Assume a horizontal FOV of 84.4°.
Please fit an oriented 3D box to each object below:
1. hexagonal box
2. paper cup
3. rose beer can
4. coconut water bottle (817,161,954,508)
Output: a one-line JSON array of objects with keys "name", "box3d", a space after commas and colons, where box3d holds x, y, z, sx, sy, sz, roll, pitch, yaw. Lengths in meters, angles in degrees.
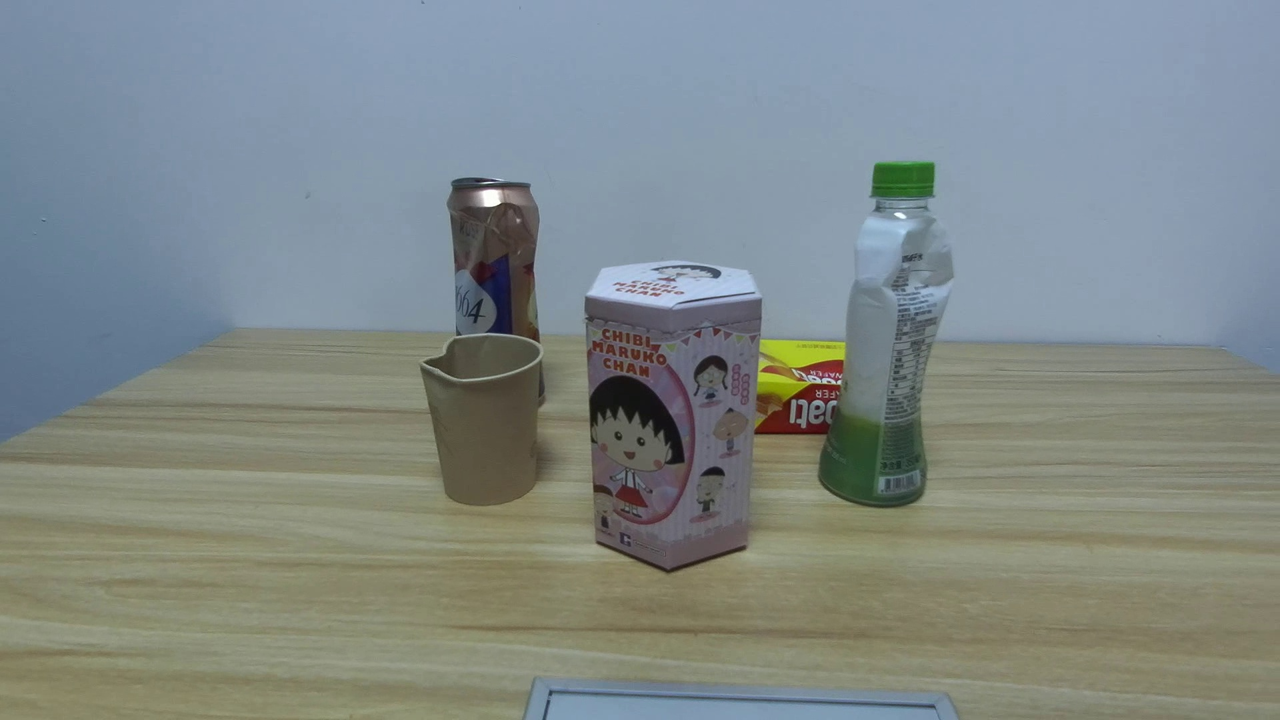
[{"name": "hexagonal box", "box3d": [0.017, 0.026, 0.359, 0.091, 0.136, 0.084, 12, 23, 31]}, {"name": "paper cup", "box3d": [-0.089, 0.035, 0.414, 0.073, 0.081, 0.069, 17, 25, 38]}, {"name": "rose beer can", "box3d": [-0.103, -0.045, 0.517, 0.065, 0.167, 0.075, -4, 17, -19]}, {"name": "coconut water bottle", "box3d": [0.139, -0.014, 0.395, 0.067, 0.187, 0.067, 0, 18, 0]}]
